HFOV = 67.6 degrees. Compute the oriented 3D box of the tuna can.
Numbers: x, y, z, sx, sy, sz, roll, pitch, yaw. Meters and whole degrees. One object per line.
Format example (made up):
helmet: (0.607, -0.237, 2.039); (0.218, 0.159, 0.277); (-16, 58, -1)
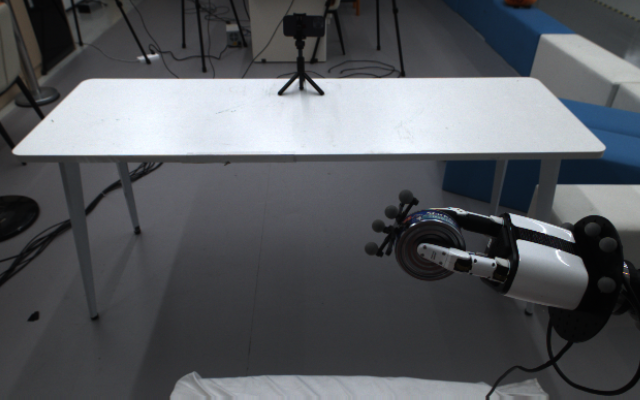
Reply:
tuna can: (0.138, 0.053, 0.601); (0.085, 0.085, 0.034); (3, 20, 1)
